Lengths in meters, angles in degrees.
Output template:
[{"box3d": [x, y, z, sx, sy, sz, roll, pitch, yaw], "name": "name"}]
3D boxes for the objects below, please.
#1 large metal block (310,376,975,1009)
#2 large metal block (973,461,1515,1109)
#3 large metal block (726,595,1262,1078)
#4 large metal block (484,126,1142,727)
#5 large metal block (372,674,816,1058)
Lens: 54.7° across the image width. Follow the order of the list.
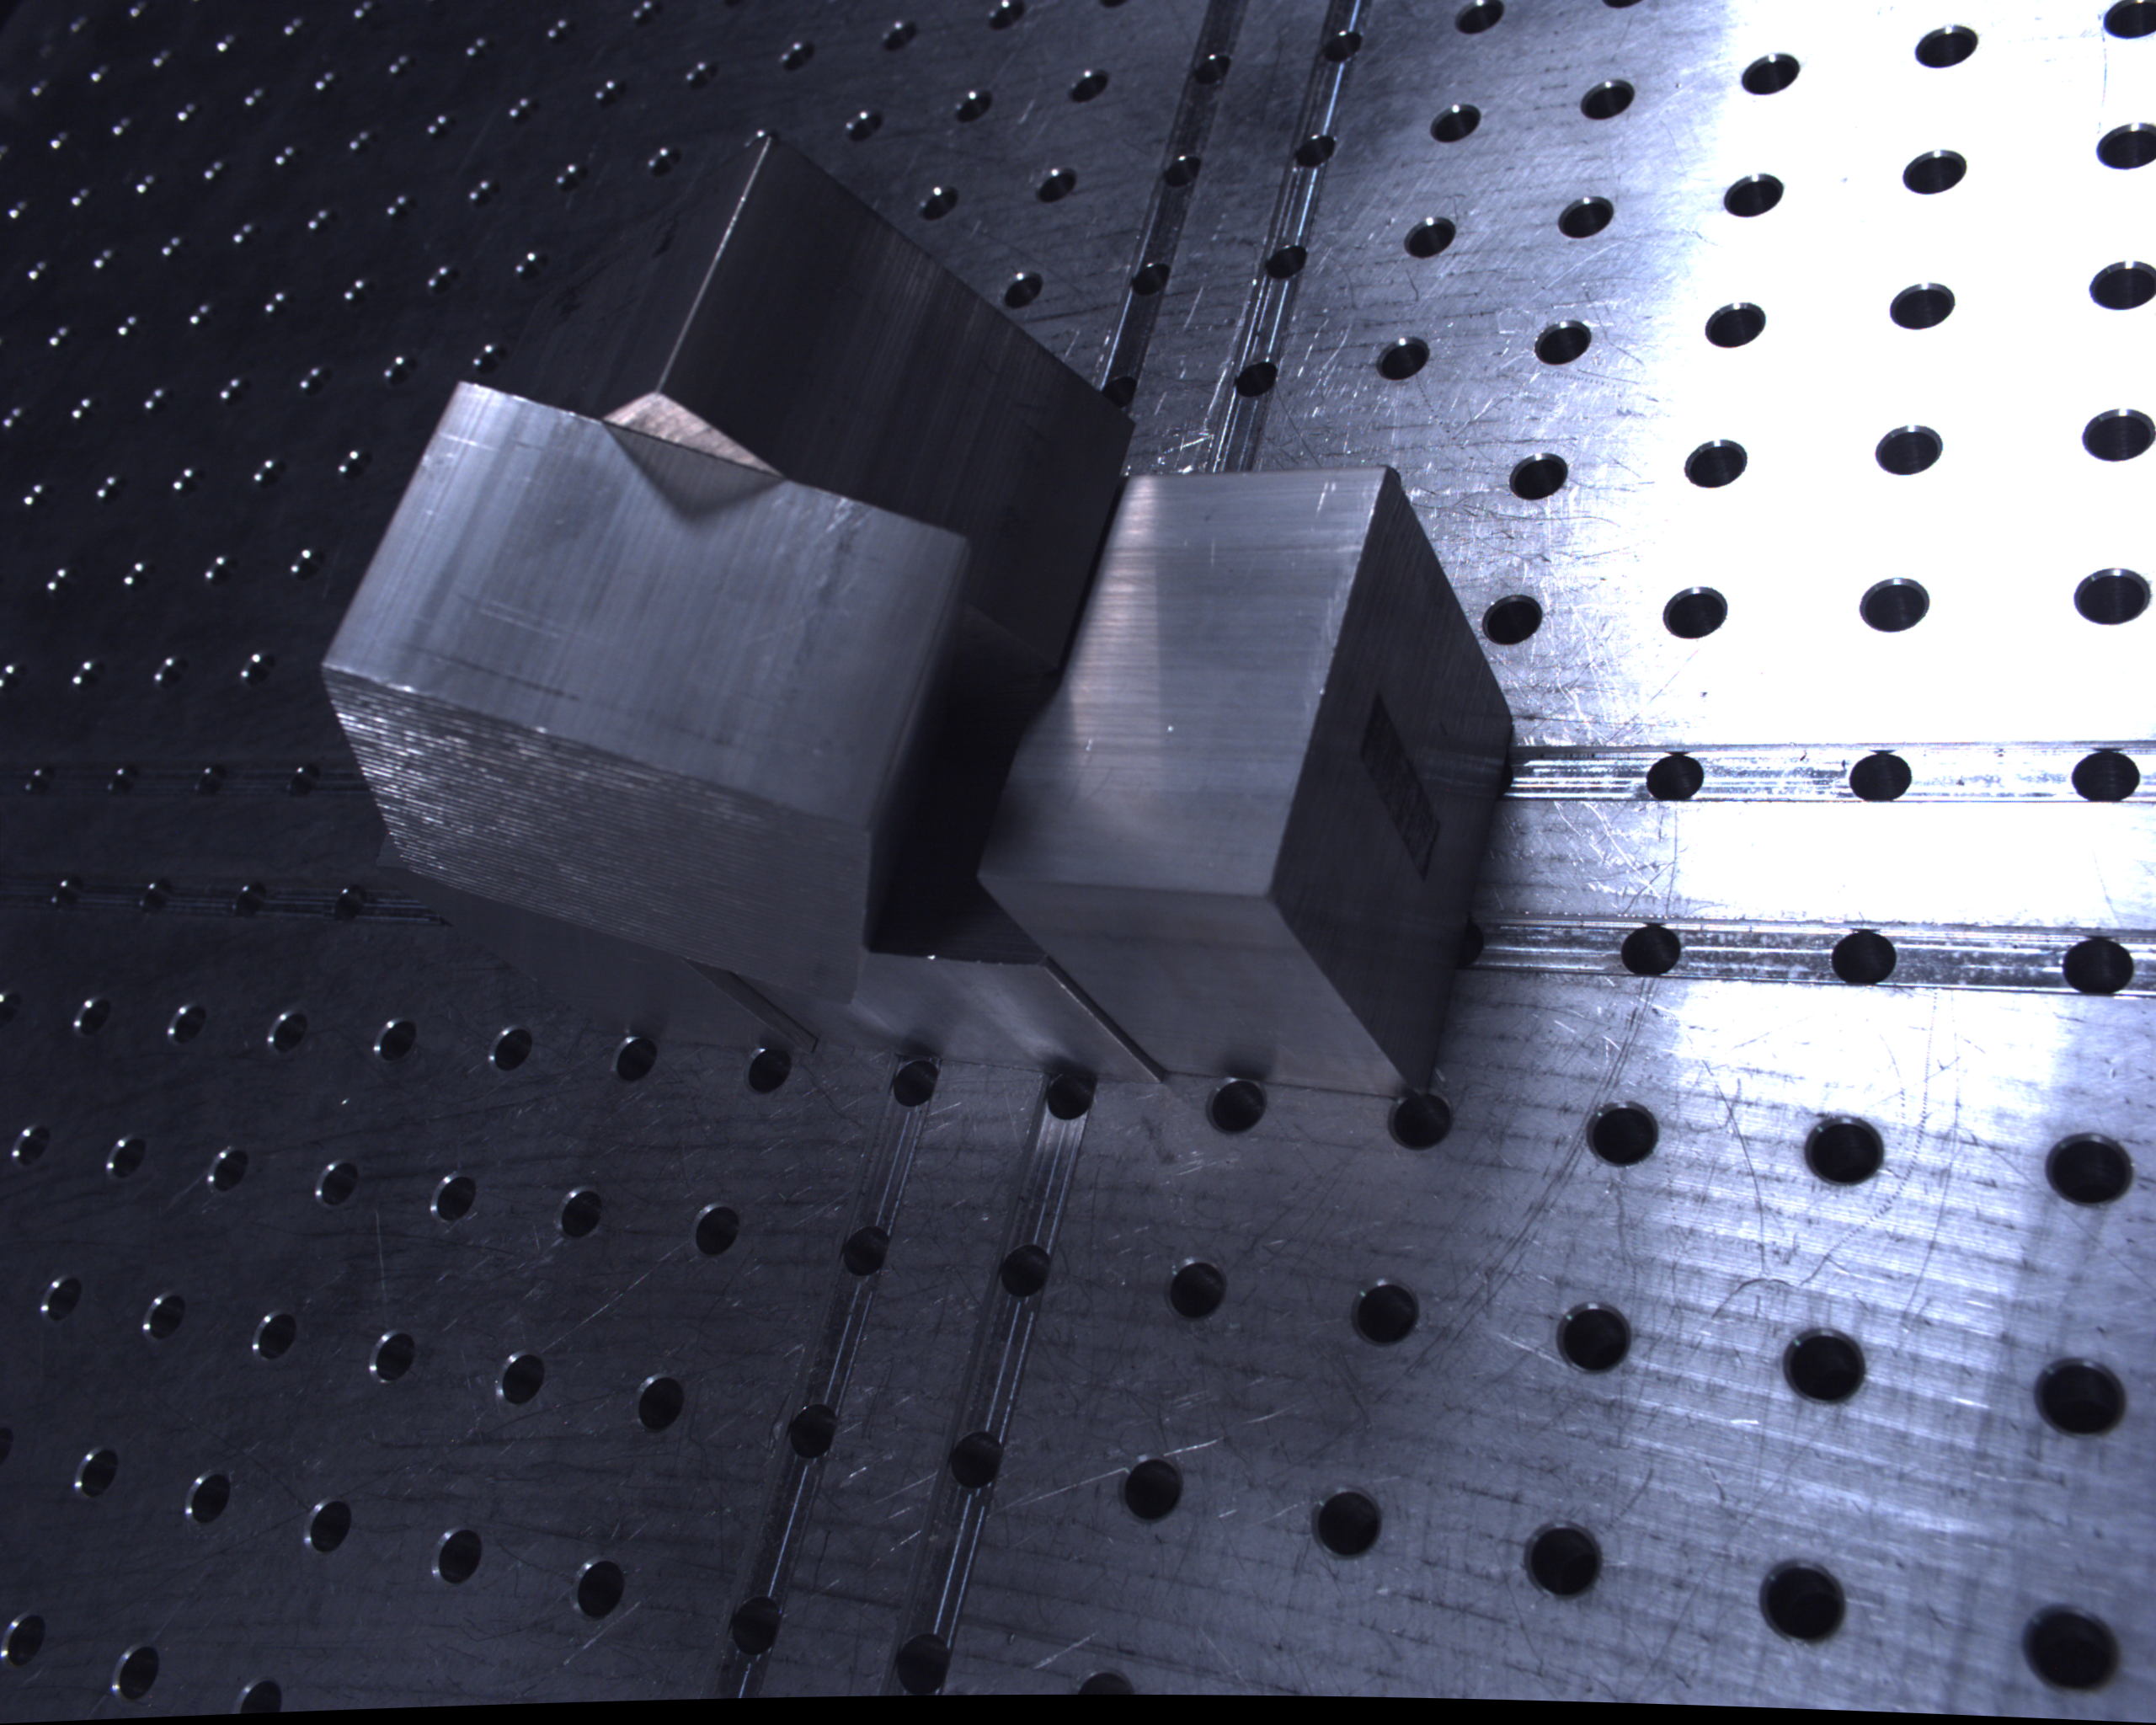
[{"box3d": [-0.066, -0.023, 0.334, 0.080, 0.080, 0.050, 17, 67, -1], "name": "large metal block"}, {"box3d": [0.033, -0.012, 0.361, 0.050, 0.080, 0.080, 4, 64, 30], "name": "large metal block"}, {"box3d": [-0.018, -0.008, 0.403, 0.080, 0.050, 0.080, 3, 63, 29], "name": "large metal block"}, {"box3d": [-0.051, -0.066, 0.357, 0.080, 0.080, 0.050, -12, 53, 48], "name": "large metal block"}, {"box3d": [-0.083, -0.014, 0.424, 0.050, 0.080, 0.080, 2, 63, 29], "name": "large metal block"}]
